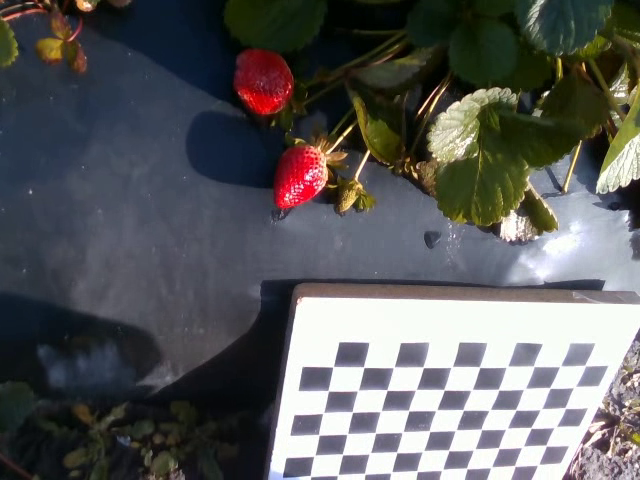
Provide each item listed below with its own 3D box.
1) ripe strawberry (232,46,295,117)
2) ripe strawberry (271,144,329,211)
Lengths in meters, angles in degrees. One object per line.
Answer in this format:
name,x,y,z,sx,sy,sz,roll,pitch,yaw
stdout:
ripe strawberry,-0.039,-0.107,0.425,0.054,0.048,0.039,8,27,-43
ripe strawberry,-0.015,-0.042,0.425,0.038,0.053,0.043,-4,-44,48
